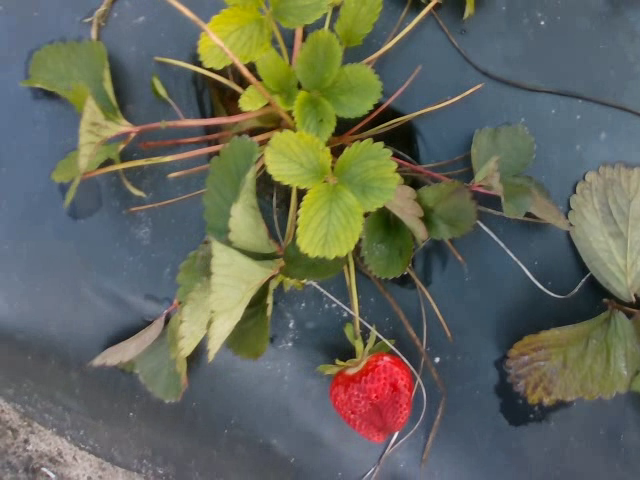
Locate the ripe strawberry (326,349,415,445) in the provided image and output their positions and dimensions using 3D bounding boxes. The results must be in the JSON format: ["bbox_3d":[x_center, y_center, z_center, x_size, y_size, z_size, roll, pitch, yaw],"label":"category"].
[{"bbox_3d":[0.008,0.026,0.092,0.017,0.015,0.013,-34,-28,34],"label":"ripe strawberry"}]
